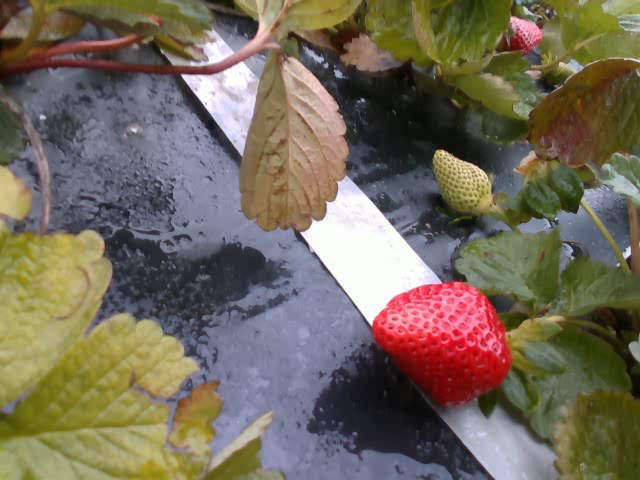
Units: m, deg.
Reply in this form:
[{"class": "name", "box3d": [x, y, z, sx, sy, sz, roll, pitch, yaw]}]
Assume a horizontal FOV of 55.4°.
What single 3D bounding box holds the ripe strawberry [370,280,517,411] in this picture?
[{"class": "ripe strawberry", "box3d": [0.031, 0.026, 0.170, 0.051, 0.042, 0.037, 13, -23, -42]}]
